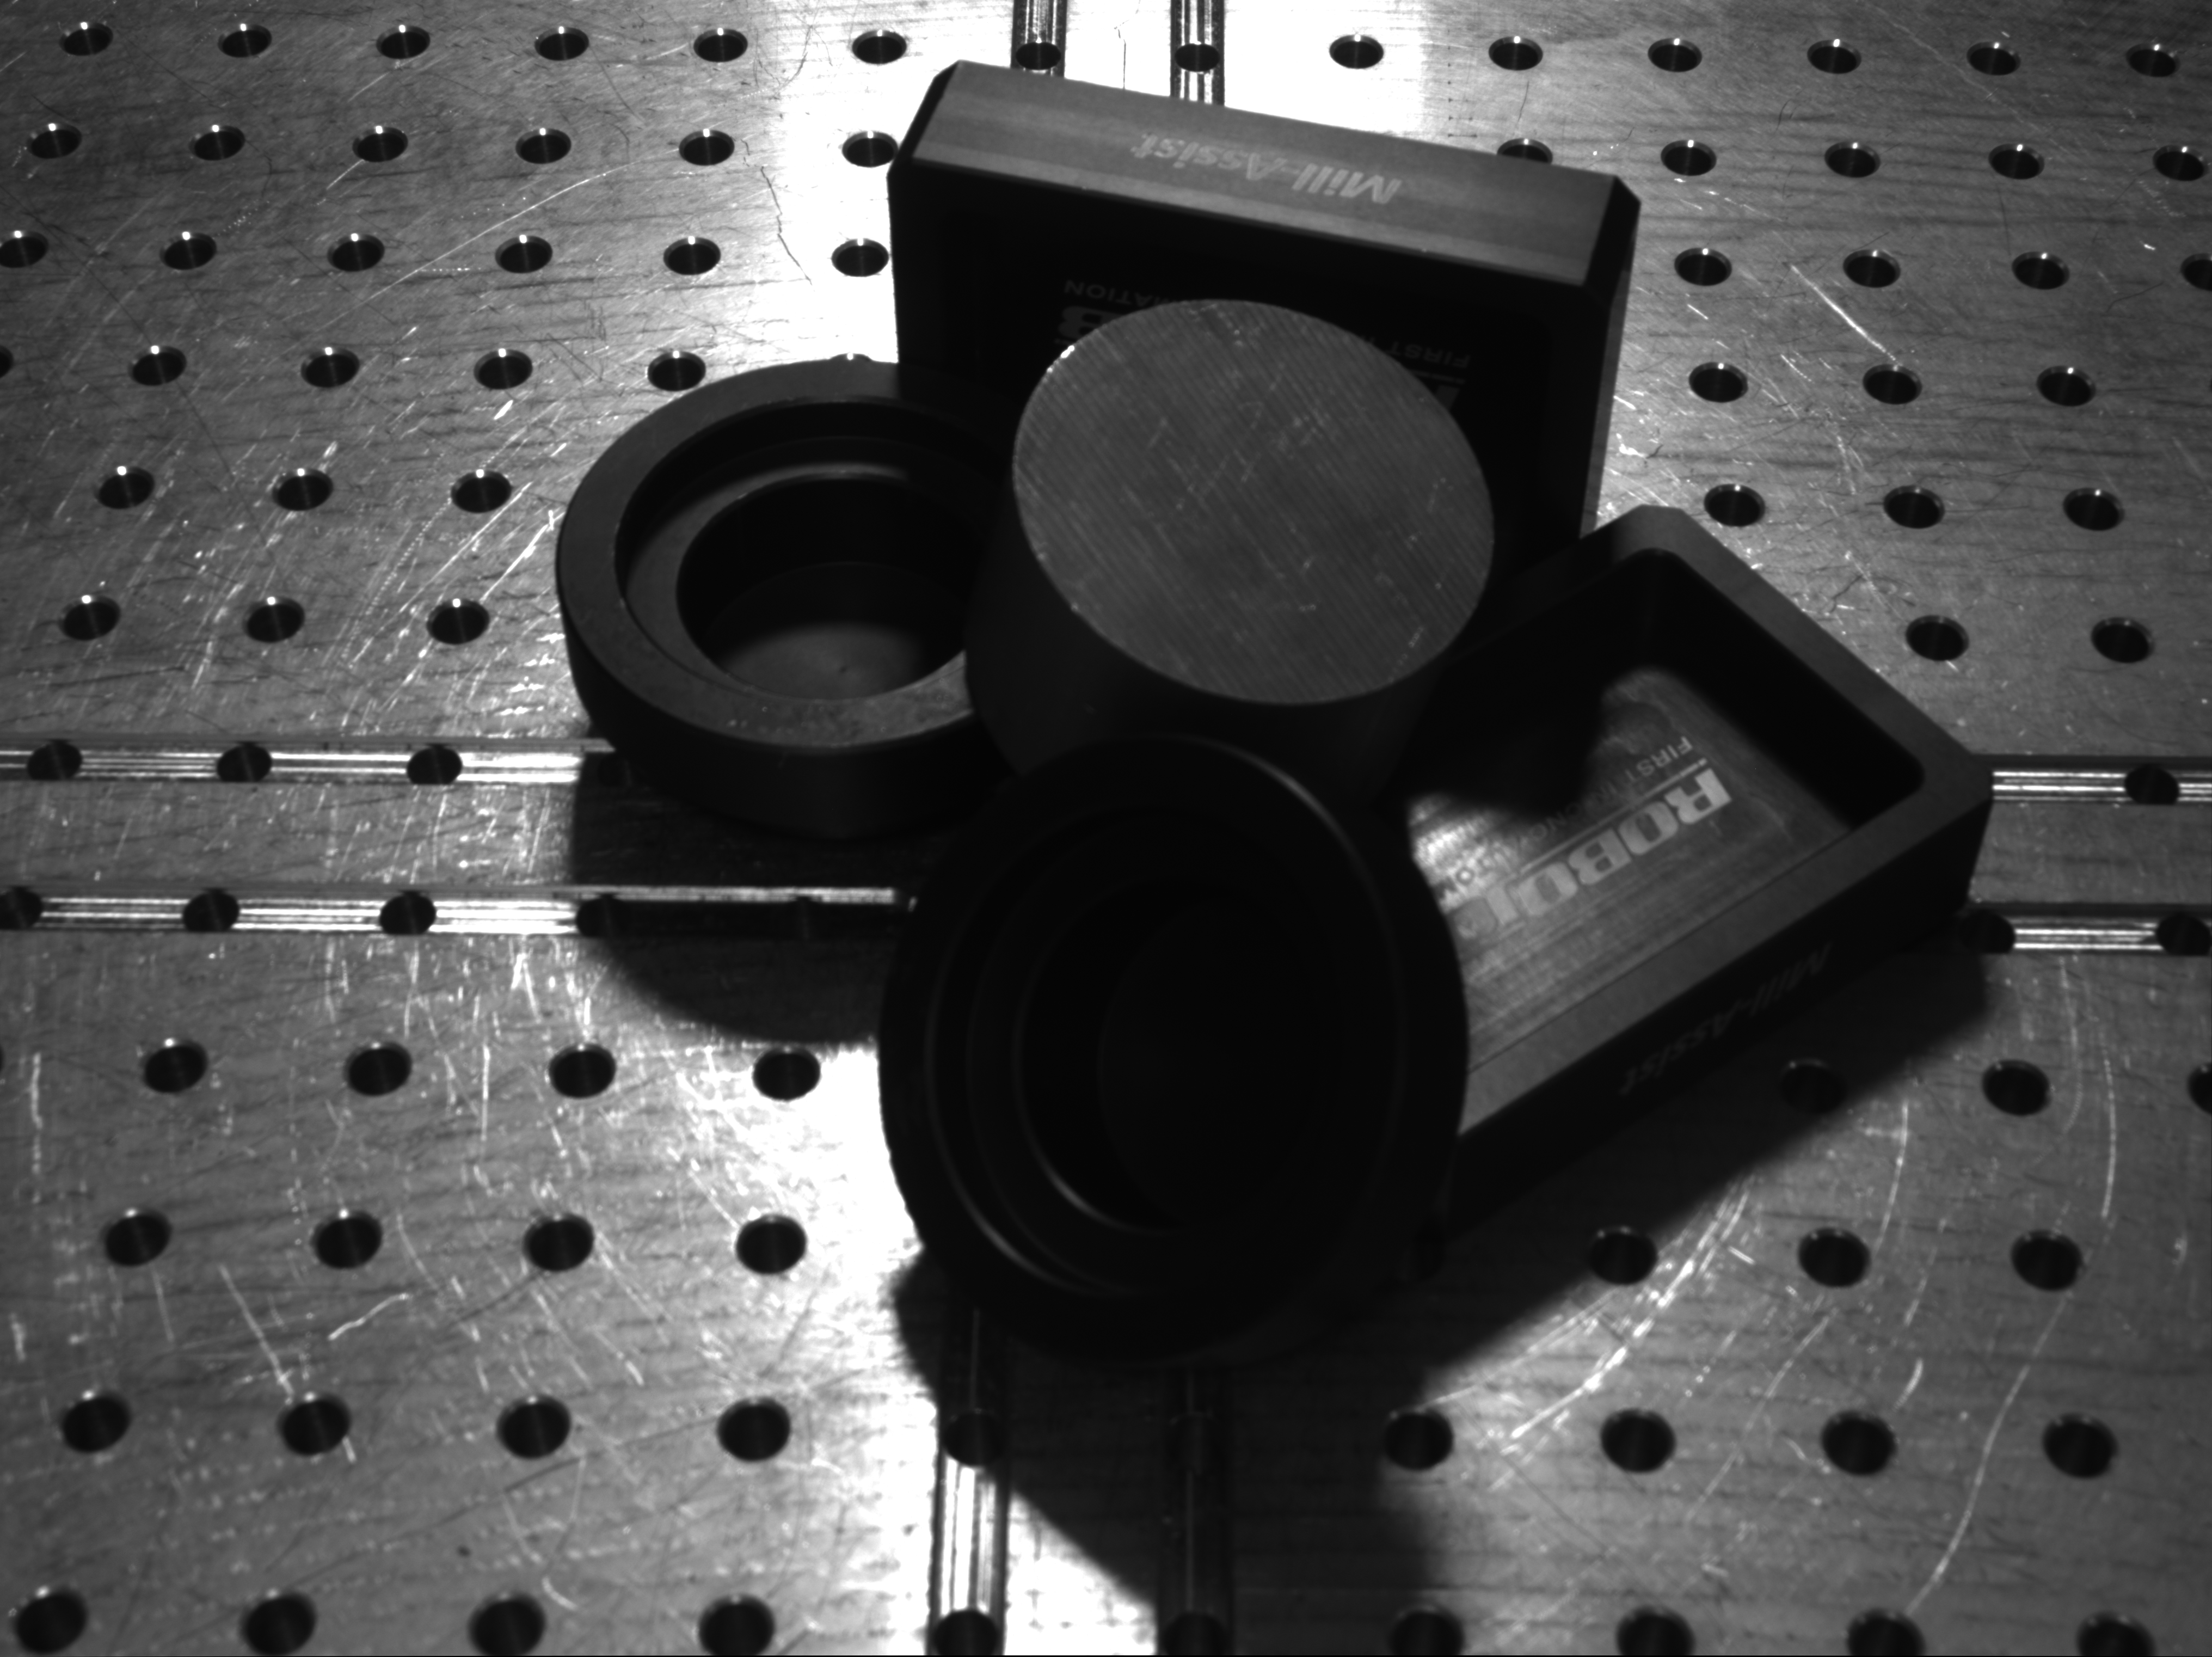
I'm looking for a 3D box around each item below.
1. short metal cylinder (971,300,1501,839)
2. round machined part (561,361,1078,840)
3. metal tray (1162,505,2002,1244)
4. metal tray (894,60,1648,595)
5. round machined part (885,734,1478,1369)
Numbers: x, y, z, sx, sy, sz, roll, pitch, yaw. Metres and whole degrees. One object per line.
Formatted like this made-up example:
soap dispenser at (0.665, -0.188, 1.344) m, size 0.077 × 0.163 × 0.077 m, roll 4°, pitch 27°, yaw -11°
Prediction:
short metal cylinder at (0.021, -0.041, 0.615) m, size 0.080 × 0.050 × 0.080 m, roll 6°, pitch 58°, yaw -10°
round machined part at (-0.048, -0.037, 0.665) m, size 0.098 × 0.042 × 0.098 m, roll 0°, pitch 50°, yaw 0°
metal tray at (0.078, 0.004, 0.637) m, size 0.130 × 0.030 × 0.090 m, roll -29°, pitch 56°, yaw -23°
metal tray at (0.029, -0.087, 0.676) m, size 0.130 × 0.090 × 0.030 m, roll 12°, pitch 51°, yaw 10°
round machined part at (0.016, 0.037, 0.580) m, size 0.098 × 0.042 × 0.098 m, roll -6°, pitch 78°, yaw 33°
